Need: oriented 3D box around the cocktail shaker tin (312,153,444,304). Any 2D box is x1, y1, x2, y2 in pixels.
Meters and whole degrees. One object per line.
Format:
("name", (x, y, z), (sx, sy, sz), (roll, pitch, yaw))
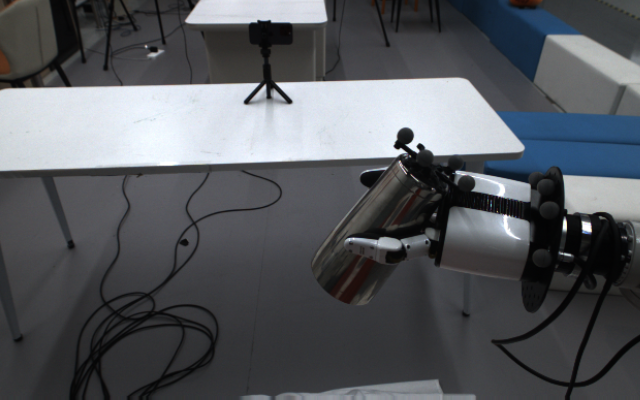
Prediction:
("cocktail shaker tin", (0.071, 0.028, 0.559), (0.093, 0.170, 0.093), (26, 32, -17))
